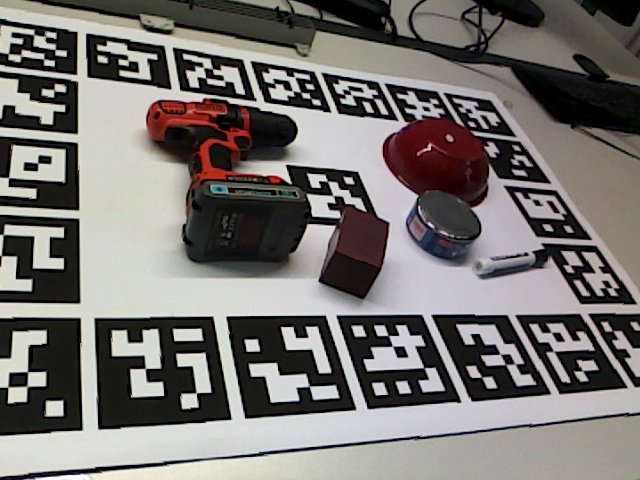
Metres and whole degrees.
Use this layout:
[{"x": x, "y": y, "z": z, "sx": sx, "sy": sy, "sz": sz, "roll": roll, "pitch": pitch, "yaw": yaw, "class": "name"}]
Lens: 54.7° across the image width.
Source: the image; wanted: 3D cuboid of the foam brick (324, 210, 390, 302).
[{"x": 0.041, "y": 0.017, "z": 0.660, "sx": 0.051, "sy": 0.053, "sz": 0.078, "roll": 21, "pitch": 43, "yaw": -9, "class": "foam brick"}]

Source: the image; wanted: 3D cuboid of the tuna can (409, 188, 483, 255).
[{"x": 0.154, "y": -0.023, "z": 0.760, "sx": 0.085, "sy": 0.034, "sz": 0.086, "roll": 16, "pitch": 42, "yaw": -15, "class": "tuna can"}]

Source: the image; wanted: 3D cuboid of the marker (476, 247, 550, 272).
[{"x": 0.243, "y": 0.023, "z": 0.767, "sx": 0.120, "sy": 0.019, "sz": 0.020, "roll": -6, "pitch": 52, "yaw": -32, "class": "marker"}]

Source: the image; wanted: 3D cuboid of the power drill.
[{"x": -0.091, "y": -0.074, "z": 0.679, "sx": 0.183, "sy": 0.057, "sz": 0.188, "roll": 4, "pitch": 43, "yaw": -29, "class": "power drill"}]

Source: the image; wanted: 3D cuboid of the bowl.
[{"x": 0.164, "y": -0.117, "z": 0.862, "sx": 0.161, "sy": 0.055, "sz": 0.162, "roll": 11, "pitch": 37, "yaw": -9, "class": "bowl"}]
